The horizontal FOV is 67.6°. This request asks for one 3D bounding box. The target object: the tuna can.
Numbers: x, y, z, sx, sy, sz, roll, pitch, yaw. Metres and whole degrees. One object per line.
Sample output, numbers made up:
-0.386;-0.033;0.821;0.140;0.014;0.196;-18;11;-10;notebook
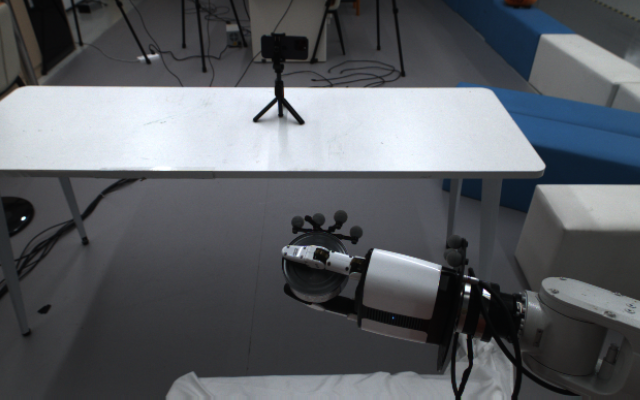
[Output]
-0.004;0.081;0.611;0.085;0.034;0.085;-2;56;4;tuna can
